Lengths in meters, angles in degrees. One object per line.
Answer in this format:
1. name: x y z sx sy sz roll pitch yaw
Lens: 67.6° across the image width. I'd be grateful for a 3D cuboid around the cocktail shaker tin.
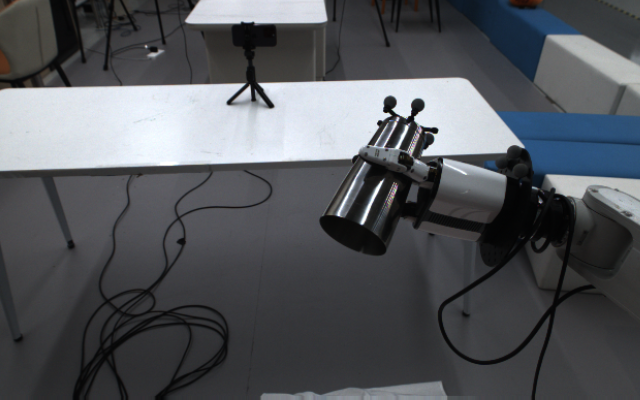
1. cocktail shaker tin: 0.080 -0.027 0.627 0.093 0.093 0.170 18 66 21
